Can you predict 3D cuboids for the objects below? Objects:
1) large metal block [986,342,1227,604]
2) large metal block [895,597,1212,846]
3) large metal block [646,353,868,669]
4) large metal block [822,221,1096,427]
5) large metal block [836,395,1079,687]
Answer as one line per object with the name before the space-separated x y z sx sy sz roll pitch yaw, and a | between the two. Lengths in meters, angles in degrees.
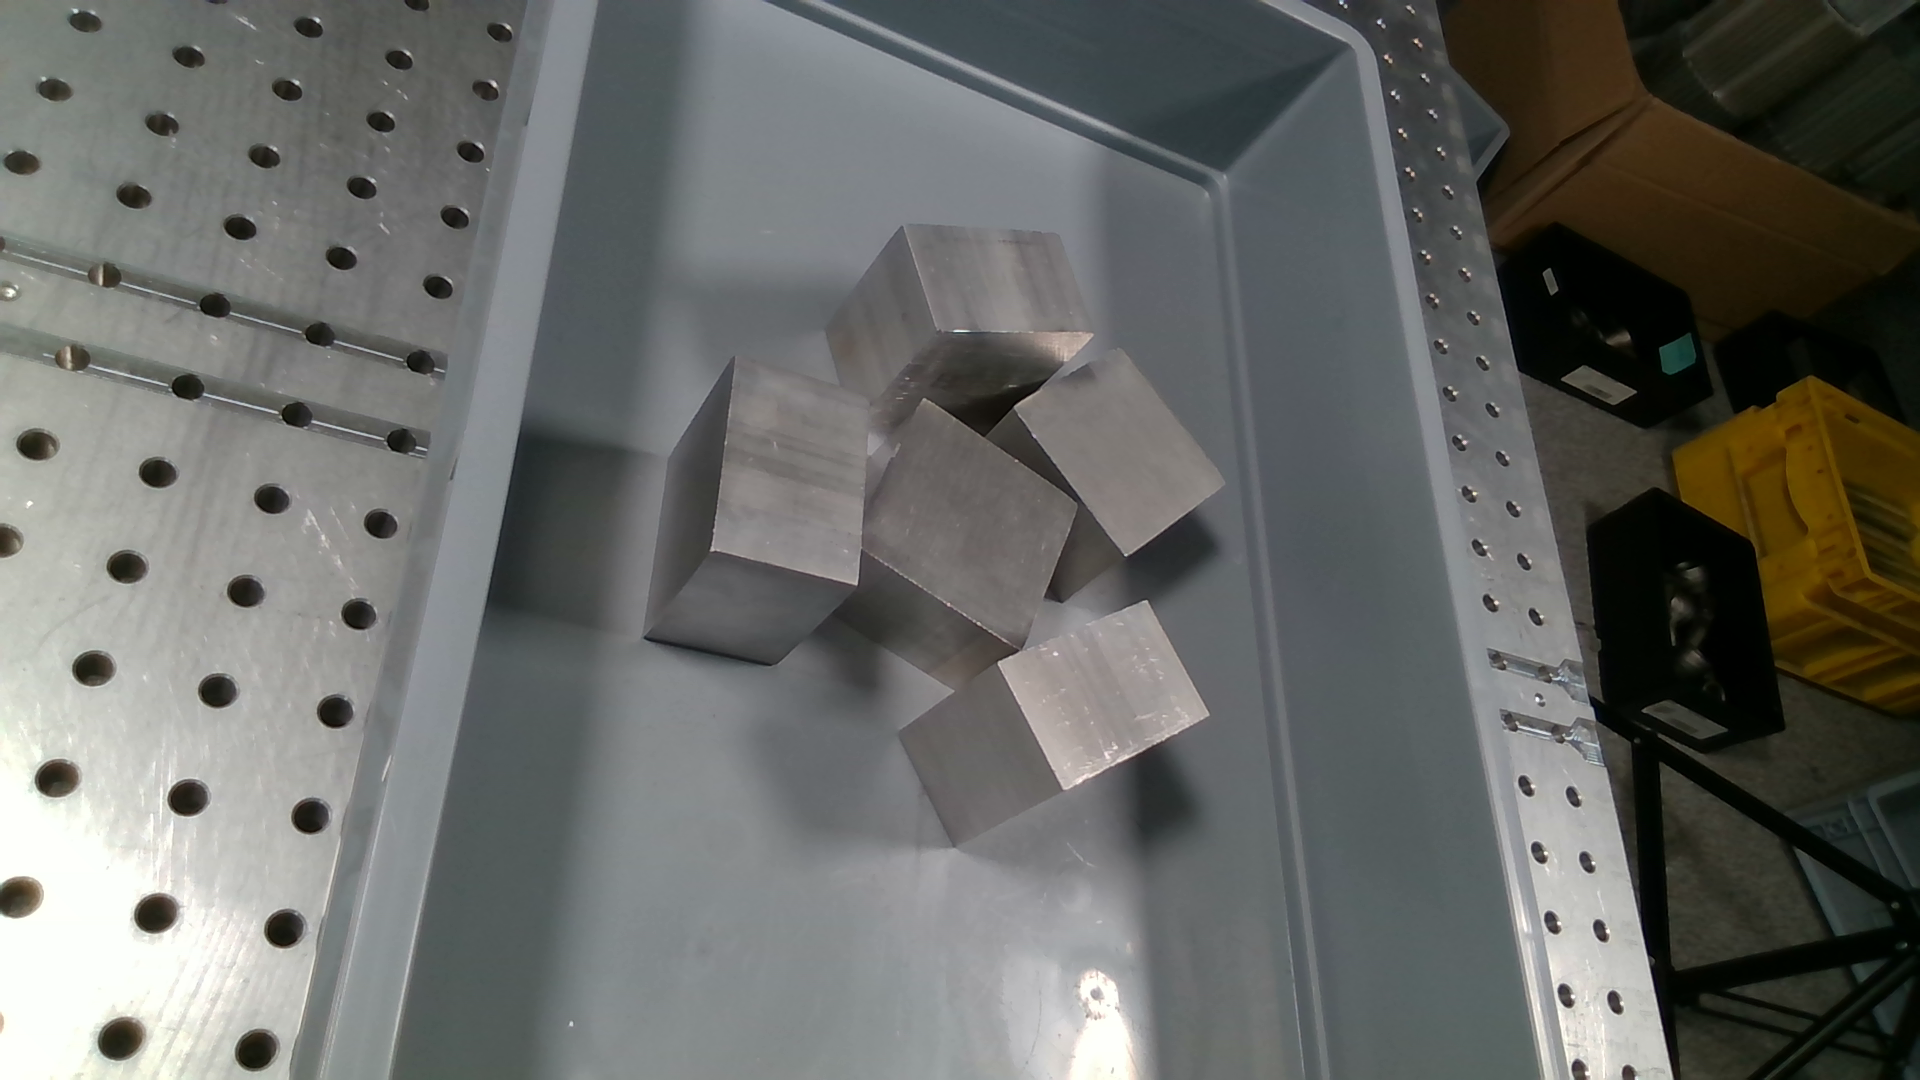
large metal block | 0.060 -0.031 0.622 0.080 0.050 0.080 -33 85 -39
large metal block | 0.035 0.071 0.532 0.080 0.080 0.050 -19 76 -37
large metal block | -0.075 -0.008 0.508 0.050 0.080 0.080 15 58 -24
large metal block | -0.002 -0.091 0.597 0.080 0.080 0.050 -5 68 -33
large metal block | -0.008 0.003 0.563 0.080 0.050 0.080 34 52 -12
